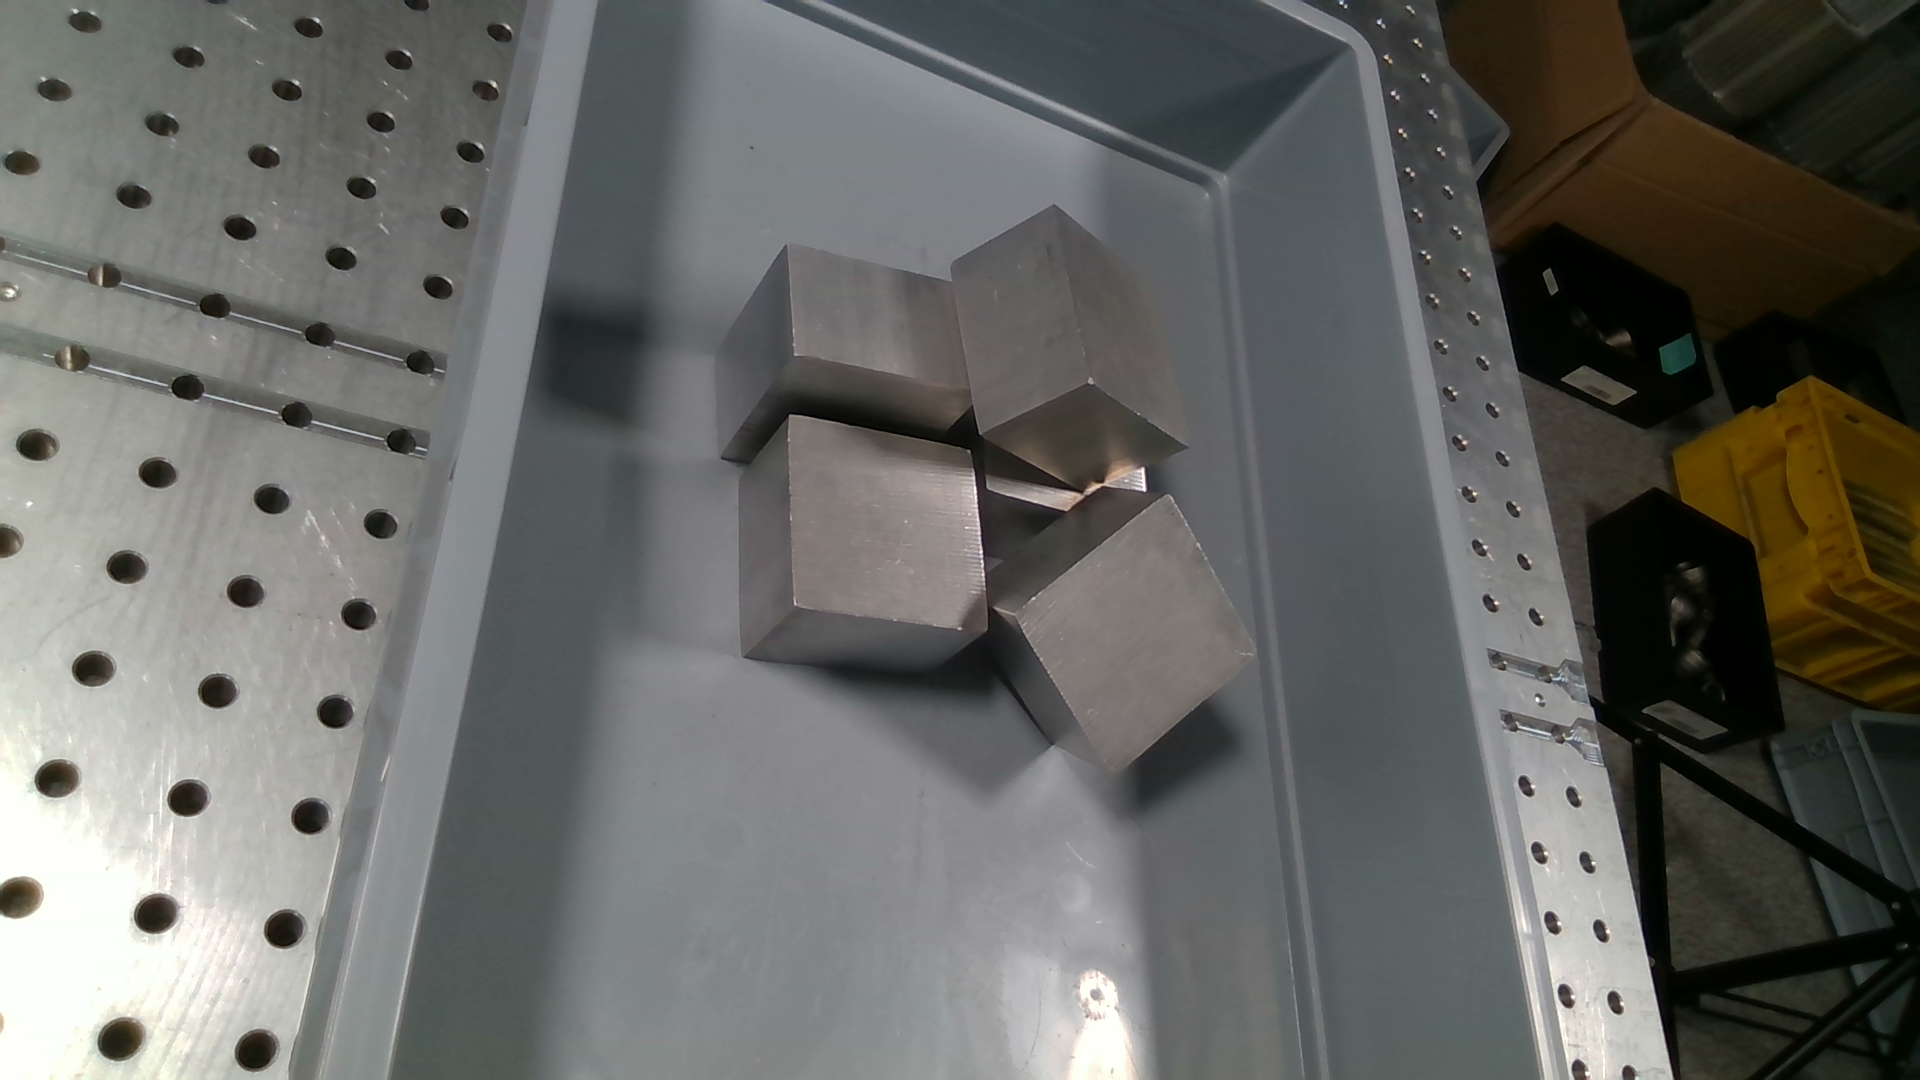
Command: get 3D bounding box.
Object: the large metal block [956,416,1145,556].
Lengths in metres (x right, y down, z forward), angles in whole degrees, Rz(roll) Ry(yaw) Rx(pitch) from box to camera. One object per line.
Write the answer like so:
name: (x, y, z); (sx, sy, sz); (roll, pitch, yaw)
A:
large metal block: (0.034, -0.037, 0.609); (0.080, 0.050, 0.080); (13, 59, -25)

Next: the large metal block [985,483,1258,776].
large metal block: (0.060, 0.033, 0.555); (0.080, 0.050, 0.080); (-37, 110, -16)

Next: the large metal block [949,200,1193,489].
large metal block: (0.045, -0.075, 0.552); (0.080, 0.050, 0.080); (23, 51, -51)

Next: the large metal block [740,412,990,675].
large metal block: (-0.039, 0.004, 0.540); (0.080, 0.050, 0.080); (9, 61, -28)

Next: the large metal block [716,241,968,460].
large metal block: (-0.047, -0.068, 0.557); (0.080, 0.080, 0.050); (8, 61, -28)
